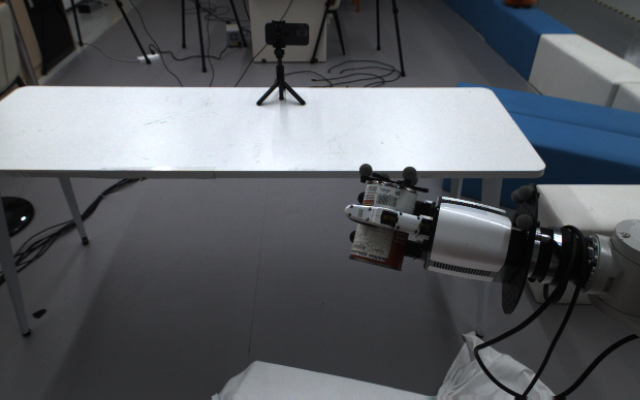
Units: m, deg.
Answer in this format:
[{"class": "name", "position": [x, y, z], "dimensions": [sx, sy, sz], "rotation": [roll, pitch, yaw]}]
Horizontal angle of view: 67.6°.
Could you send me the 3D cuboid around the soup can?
[{"class": "soup can", "position": [0.083, 0.033, 0.615], "dimensions": [0.067, 0.101, 0.067], "rotation": [13, -6, 1]}]
